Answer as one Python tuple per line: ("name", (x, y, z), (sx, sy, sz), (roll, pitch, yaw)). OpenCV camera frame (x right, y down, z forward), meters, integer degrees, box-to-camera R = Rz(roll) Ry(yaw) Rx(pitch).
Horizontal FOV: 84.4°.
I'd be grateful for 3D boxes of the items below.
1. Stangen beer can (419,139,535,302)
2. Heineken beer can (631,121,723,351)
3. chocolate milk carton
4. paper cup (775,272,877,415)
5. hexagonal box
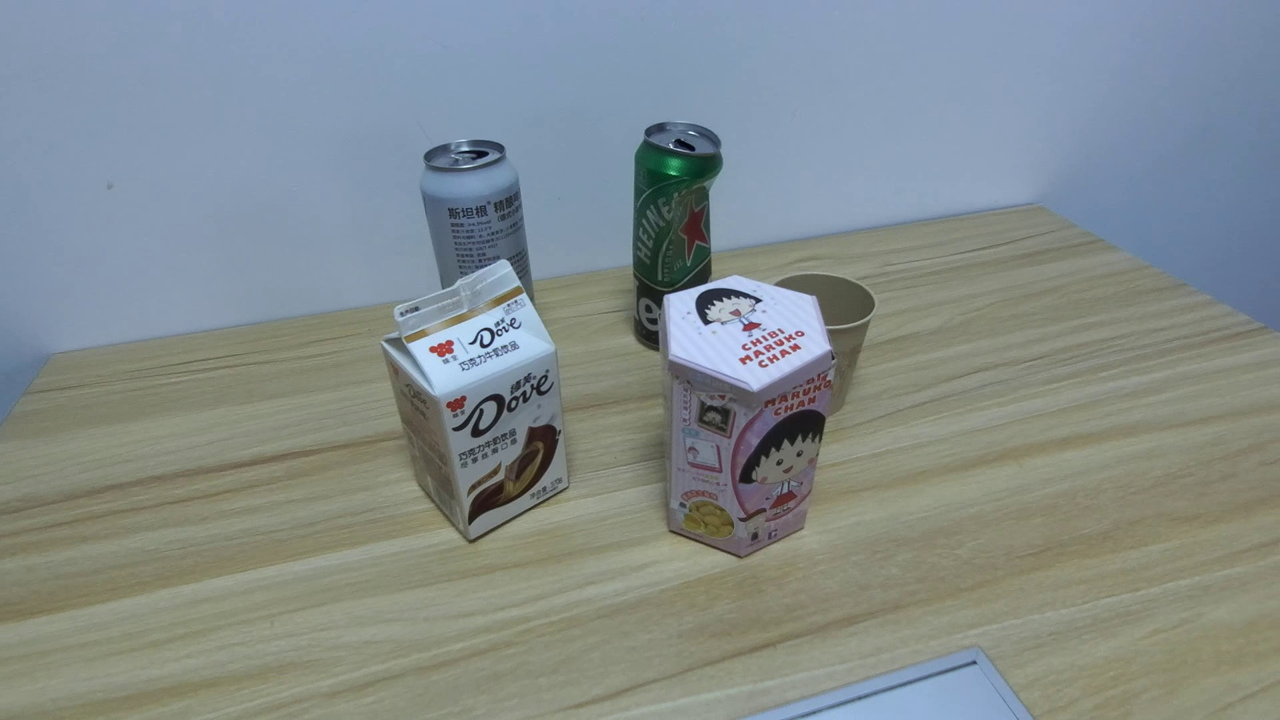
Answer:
("Stangen beer can", (-0.114, -0.071, 0.519), (0.067, 0.171, 0.067), (-1, 36, 1))
("Heineken beer can", (0.029, -0.089, 0.536), (0.068, 0.168, 0.069), (-9, 36, -16))
("chocolate milk carton", (-0.095, 0.018, 0.413), (0.075, 0.148, 0.073), (-25, 41, -31))
("paper cup", (0.120, -0.007, 0.490), (0.075, 0.082, 0.075), (-2, 36, 2))
("hexagonal box", (0.055, 0.032, 0.393), (0.092, 0.135, 0.084), (-19, 39, -22))
